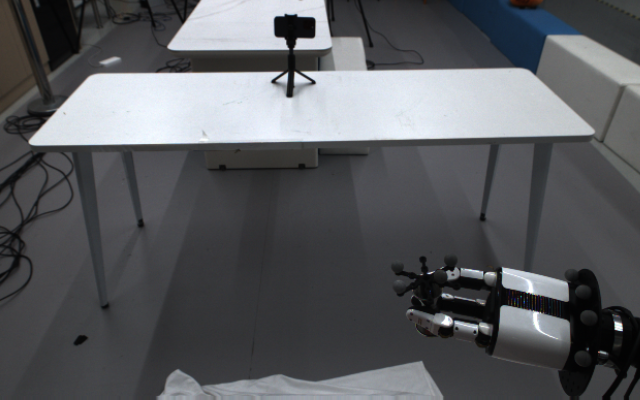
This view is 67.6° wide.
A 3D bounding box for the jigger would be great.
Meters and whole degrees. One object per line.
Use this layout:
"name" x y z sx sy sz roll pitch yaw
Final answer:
"jigger" 0.148 0.143 0.654 0.043 0.071 0.043 -10 32 6
